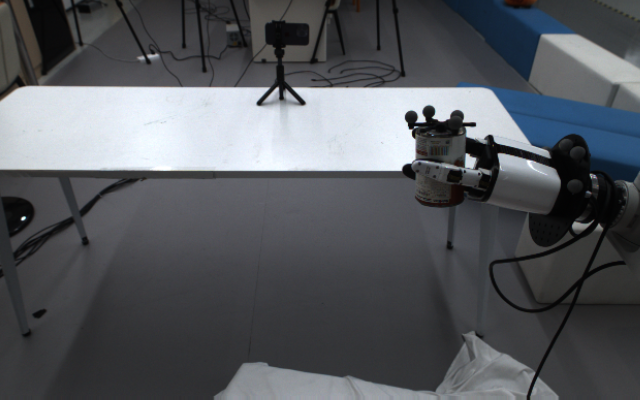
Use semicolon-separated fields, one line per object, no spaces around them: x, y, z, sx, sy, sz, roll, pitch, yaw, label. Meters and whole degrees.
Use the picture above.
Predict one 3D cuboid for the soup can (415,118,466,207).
0.166;-0.049;0.668;0.067;0.101;0.067;-4;21;1;soup can
